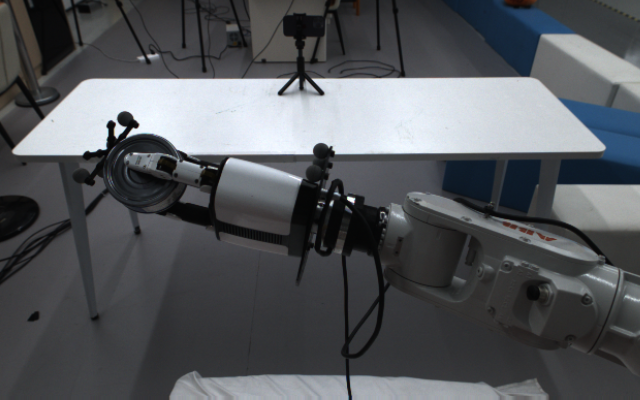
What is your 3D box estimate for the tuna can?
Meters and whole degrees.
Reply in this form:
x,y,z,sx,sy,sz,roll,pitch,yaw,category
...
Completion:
x,y,z,sx,sy,sz,roll,pitch,yaw,category
-0.190,-0.025,0.538,0.085,0.034,0.085,1,78,-6,tuna can
